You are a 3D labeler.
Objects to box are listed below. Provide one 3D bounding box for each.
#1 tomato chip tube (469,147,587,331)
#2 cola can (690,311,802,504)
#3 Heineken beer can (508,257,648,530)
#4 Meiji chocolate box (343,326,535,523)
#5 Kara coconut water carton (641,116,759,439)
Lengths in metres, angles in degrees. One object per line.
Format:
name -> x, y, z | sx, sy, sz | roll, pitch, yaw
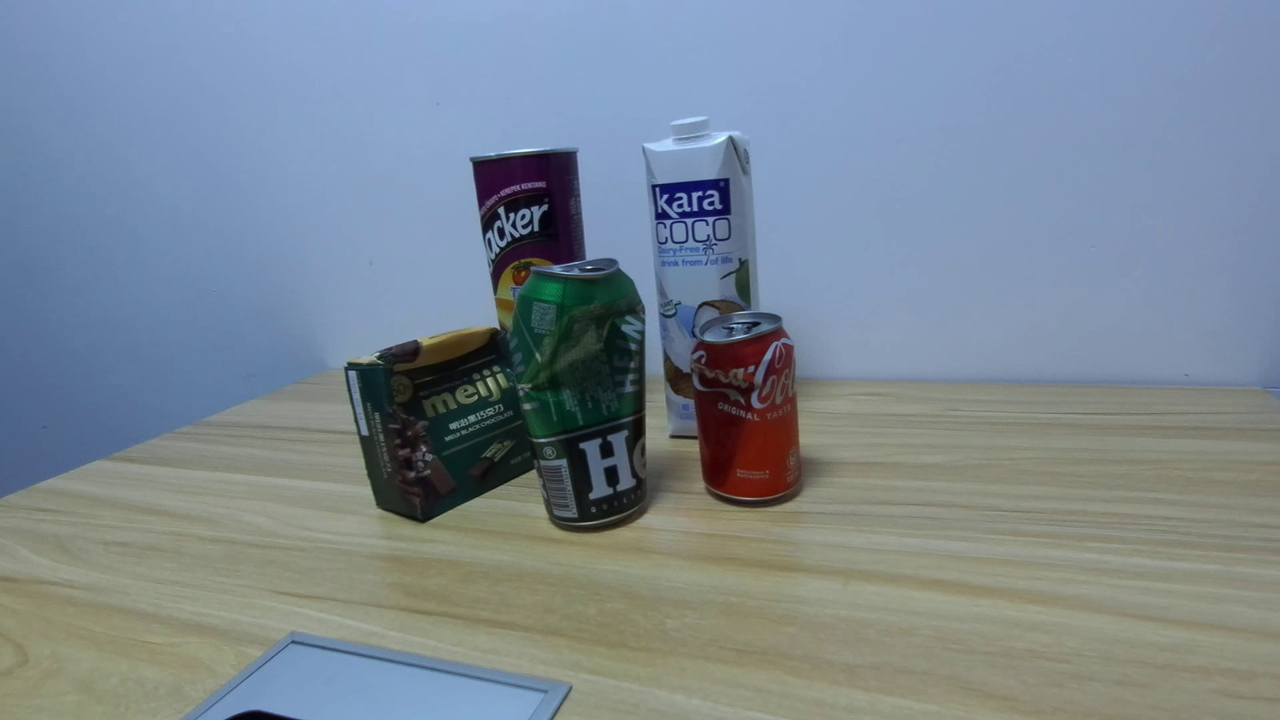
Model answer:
tomato chip tube -> -0.082, -0.055, 0.600 | 0.080, 0.234, 0.077 | 8, 19, 39
cola can -> 0.072, 0.030, 0.460 | 0.066, 0.117, 0.072 | -12, 17, -24
Heineken beer can -> -0.036, 0.022, 0.444 | 0.077, 0.164, 0.066 | 0, 15, 9
Meiji chocolate box -> -0.145, 0.046, 0.519 | 0.058, 0.110, 0.114 | -5, 10, 40
Kara coconut water carton -> 0.053, -0.062, 0.559 | 0.077, 0.245, 0.075 | 0, 16, 22
